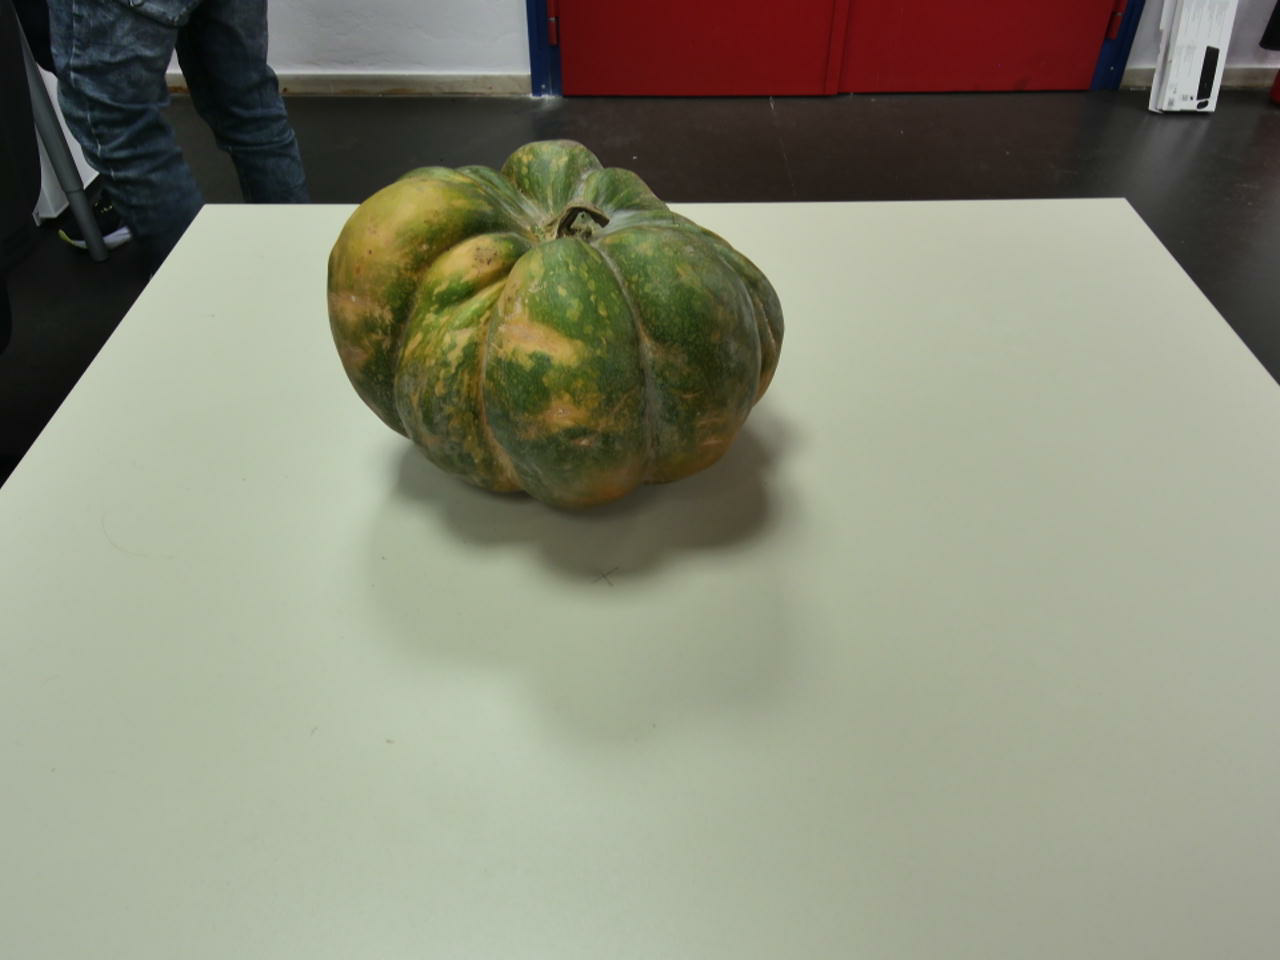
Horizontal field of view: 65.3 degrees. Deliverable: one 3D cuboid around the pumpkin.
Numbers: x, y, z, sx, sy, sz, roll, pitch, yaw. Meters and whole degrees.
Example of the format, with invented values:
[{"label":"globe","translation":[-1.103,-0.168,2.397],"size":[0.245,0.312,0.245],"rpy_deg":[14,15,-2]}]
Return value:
[{"label":"pumpkin","translation":[-0.046,-0.097,0.583],"size":[0.270,0.173,0.237],"rpy_deg":[26,46,28]}]
